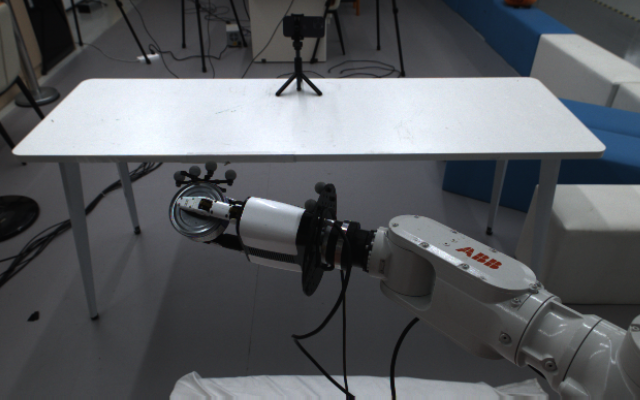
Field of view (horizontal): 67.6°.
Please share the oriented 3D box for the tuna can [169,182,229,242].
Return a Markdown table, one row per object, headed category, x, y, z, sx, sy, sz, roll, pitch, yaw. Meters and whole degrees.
| category | x | y | z | sx | sy | sz | roll | pitch | yaw |
| --- | --- | --- | --- | --- | --- | --- | --- | --- | --- |
| tuna can | -0.171 | 0.020 | 0.715 | 0.085 | 0.034 | 0.085 | -2 | 69 | 6 |
